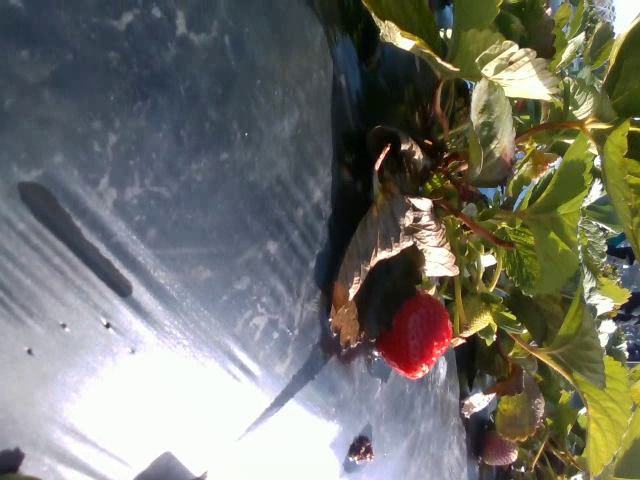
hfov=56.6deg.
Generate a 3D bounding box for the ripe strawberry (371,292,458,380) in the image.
[{"bbox_3d":[0.036,0.044,0.231,0.038,0.046,0.054,5,31,13],"label":"ripe strawberry"}]
